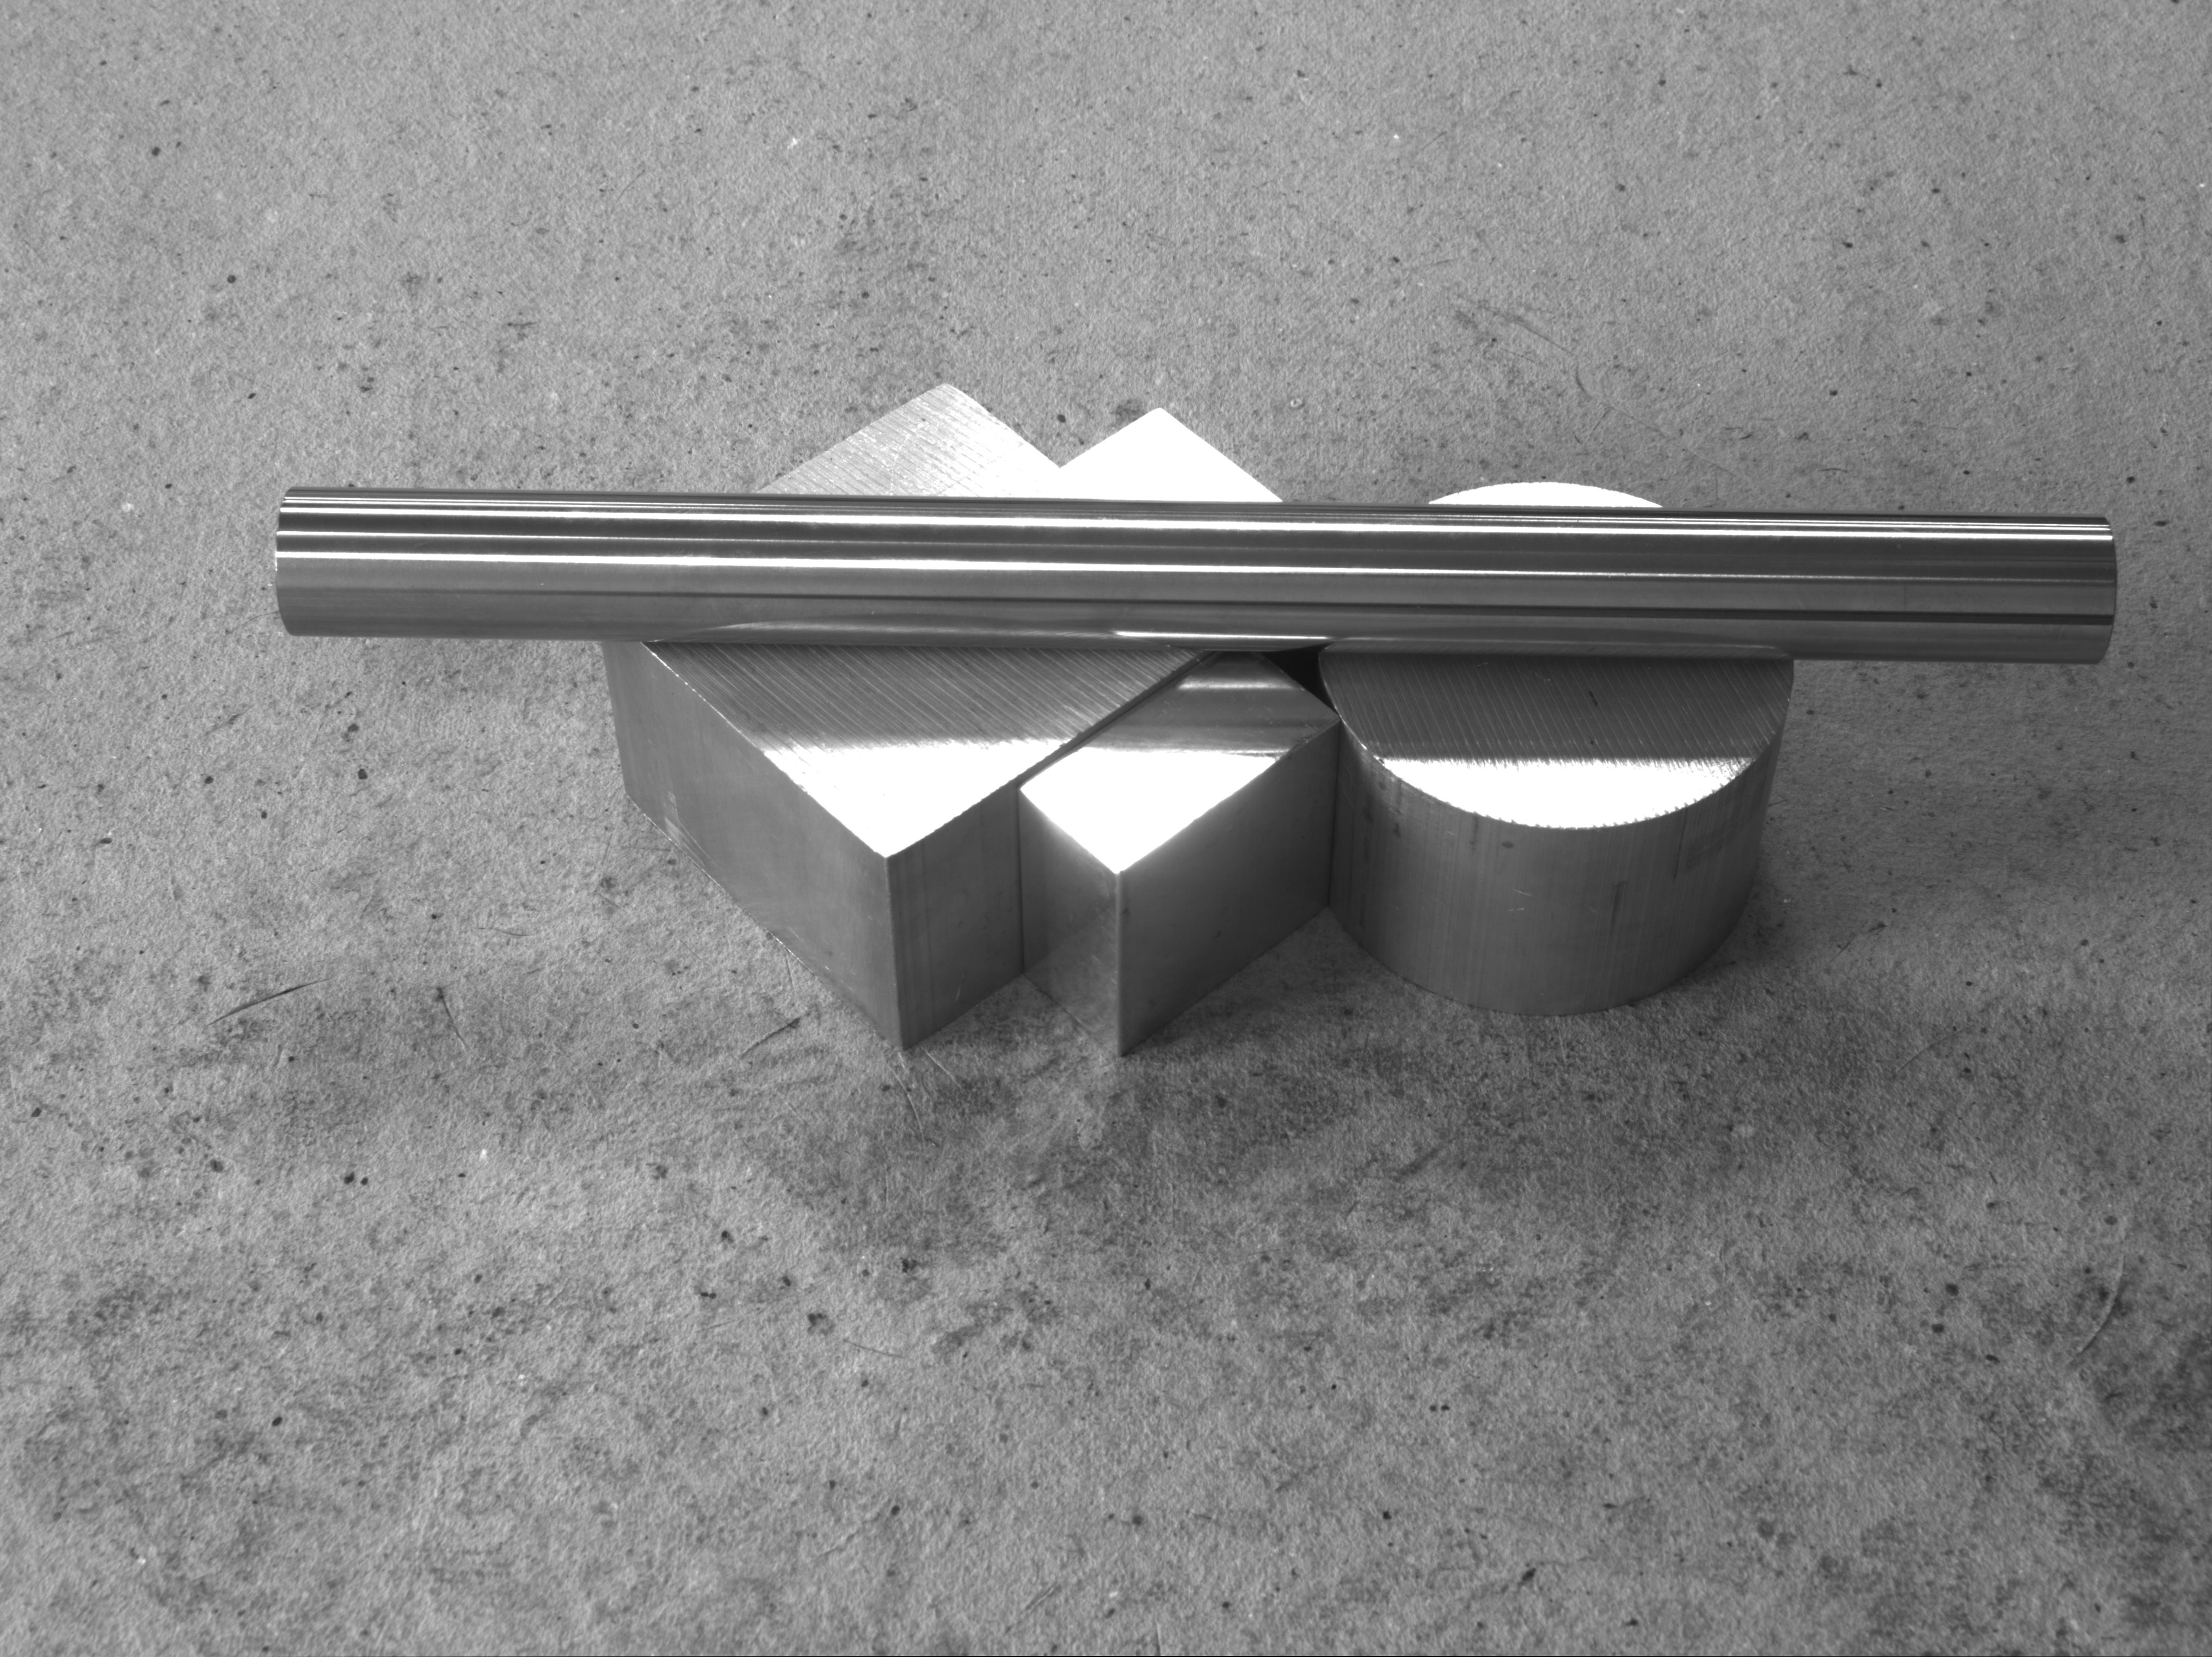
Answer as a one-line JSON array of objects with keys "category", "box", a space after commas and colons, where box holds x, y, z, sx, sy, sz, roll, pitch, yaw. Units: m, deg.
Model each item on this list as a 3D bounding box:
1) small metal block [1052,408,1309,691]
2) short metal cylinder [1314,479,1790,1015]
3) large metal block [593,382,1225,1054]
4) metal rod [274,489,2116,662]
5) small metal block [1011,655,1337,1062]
[{"category": "small metal block", "box": [0.017, -0.039, 0.660, 0.025, 0.050, 0.050, -35, 58, -26]}, {"category": "short metal cylinder", "box": [0.075, -0.015, 0.638, 0.080, 0.050, 0.080, 0, 50, 0]}, {"category": "large metal block", "box": [-0.032, -0.021, 0.642, 0.080, 0.050, 0.080, -34, 58, -25]}, {"category": "metal rod", "box": [0.014, -0.042, 0.610, 0.300, 0.025, 0.025, 1, 50, 1]}, {"category": "small metal block", "box": [0.011, 0.004, 0.625, 0.050, 0.050, 0.025, -35, 58, -26]}]
